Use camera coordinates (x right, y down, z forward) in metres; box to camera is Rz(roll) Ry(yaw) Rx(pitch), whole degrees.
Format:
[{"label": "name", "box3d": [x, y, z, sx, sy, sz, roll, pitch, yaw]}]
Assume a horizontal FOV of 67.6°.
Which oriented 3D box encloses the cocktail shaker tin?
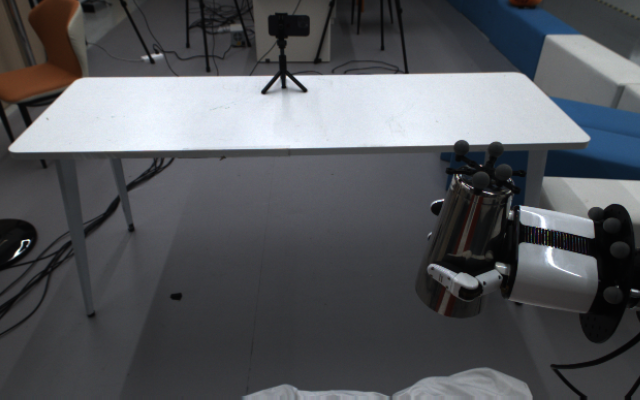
[{"label": "cocktail shaker tin", "box3d": [0.176, 0.046, 0.577, 0.093, 0.170, 0.093, 3, 34, -2]}]
